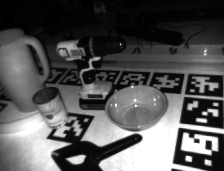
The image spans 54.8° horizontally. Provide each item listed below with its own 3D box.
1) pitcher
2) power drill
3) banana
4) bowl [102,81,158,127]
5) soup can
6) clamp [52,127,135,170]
[{"bbox_3d":[-0.281,-0.055,0.662,0.188,0.244,0.132,-12,36,5],"label":"pitcher"},{"bbox_3d":[-0.050,-0.054,0.601,0.183,0.188,0.057,1,42,19],"label":"power drill"},{"bbox_3d":[-0.300,0.097,0.654,0.197,0.039,0.074,-12,31,2],"label":"banana"},{"bbox_3d":[0.048,0.054,0.574,0.161,0.056,0.161,-9,40,9],"label":"bowl"},{"bbox_3d":[-0.177,0.048,0.619,0.068,0.103,0.067,-8,32,6],"label":"soup can"},{"bbox_3d":[-0.061,0.156,0.492,0.201,0.037,0.165,3,46,21],"label":"clamp"}]
